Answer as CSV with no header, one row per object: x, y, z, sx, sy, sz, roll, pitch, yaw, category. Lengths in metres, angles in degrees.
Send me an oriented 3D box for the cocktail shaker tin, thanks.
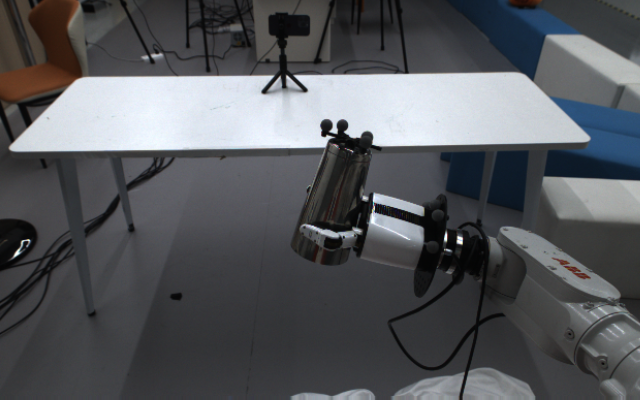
0.021,-0.001,0.716,0.093,0.170,0.093,14,20,-5,cocktail shaker tin
